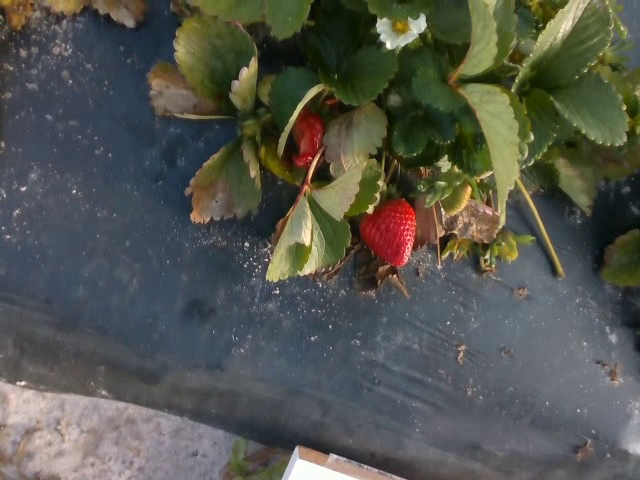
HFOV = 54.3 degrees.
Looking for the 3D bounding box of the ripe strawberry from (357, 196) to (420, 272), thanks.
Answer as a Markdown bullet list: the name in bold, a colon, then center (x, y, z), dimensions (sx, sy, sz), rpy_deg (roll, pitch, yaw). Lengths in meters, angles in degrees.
- **ripe strawberry**: center (0.031, -0.002, 0.280), dimensions (0.031, 0.030, 0.026), rpy_deg (-15, -9, -2)
